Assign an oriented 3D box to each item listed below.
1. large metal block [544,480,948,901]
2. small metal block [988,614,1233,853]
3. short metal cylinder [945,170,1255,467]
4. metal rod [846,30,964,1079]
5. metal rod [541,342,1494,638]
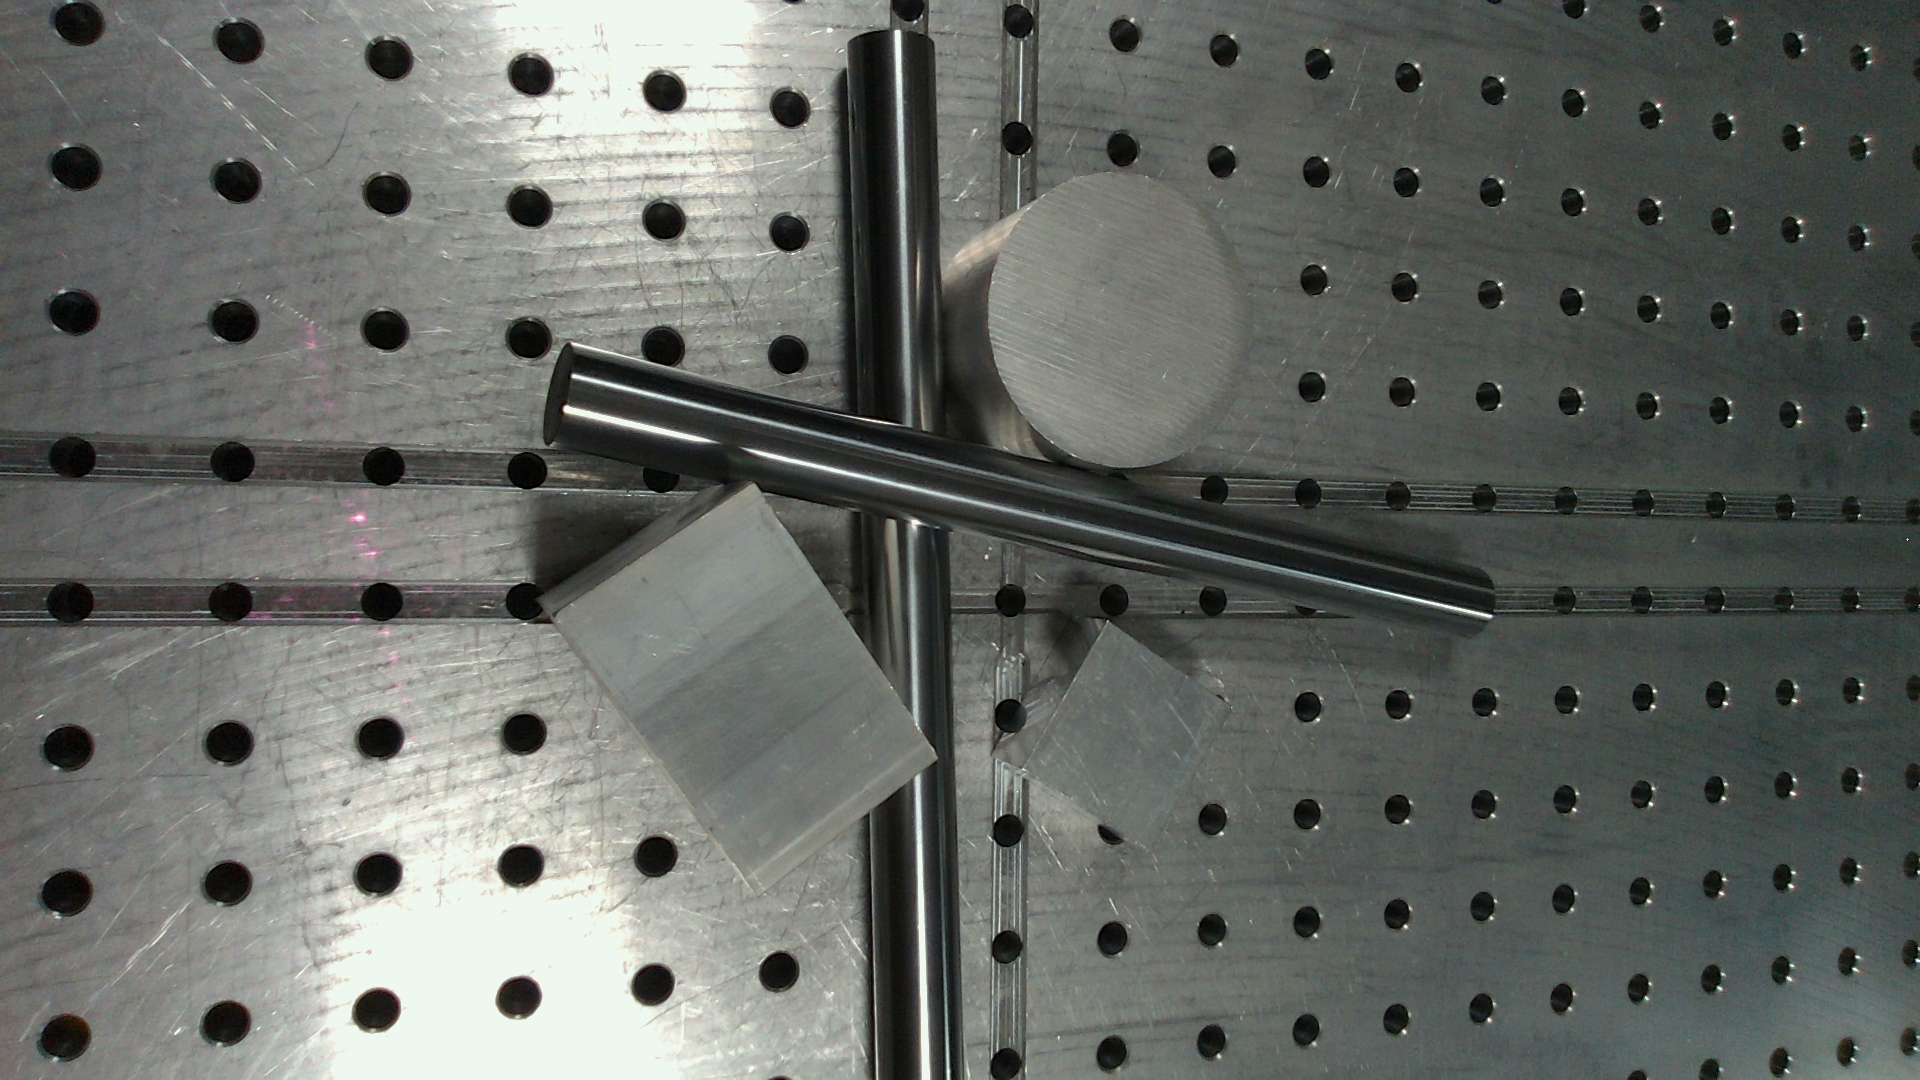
[{"bbox_3d":[-0.057,0.034,0.345,0.050,0.080,0.080,-37,102,-16],"label":"large metal block"},{"bbox_3d":[0.045,0.057,0.413,0.050,0.025,0.050,35,79,-17],"label":"small metal block"},{"bbox_3d":[0.037,-0.060,0.396,0.080,0.050,0.080,0,90,-20],"label":"short metal cylinder"},{"bbox_3d":[-0.015,0.010,0.390,0.025,0.025,0.300,-2,91,-20],"label":"metal rod"},{"bbox_3d":[0.037,-0.007,0.389,0.301,0.025,0.025,12,86,-27],"label":"metal rod"}]
